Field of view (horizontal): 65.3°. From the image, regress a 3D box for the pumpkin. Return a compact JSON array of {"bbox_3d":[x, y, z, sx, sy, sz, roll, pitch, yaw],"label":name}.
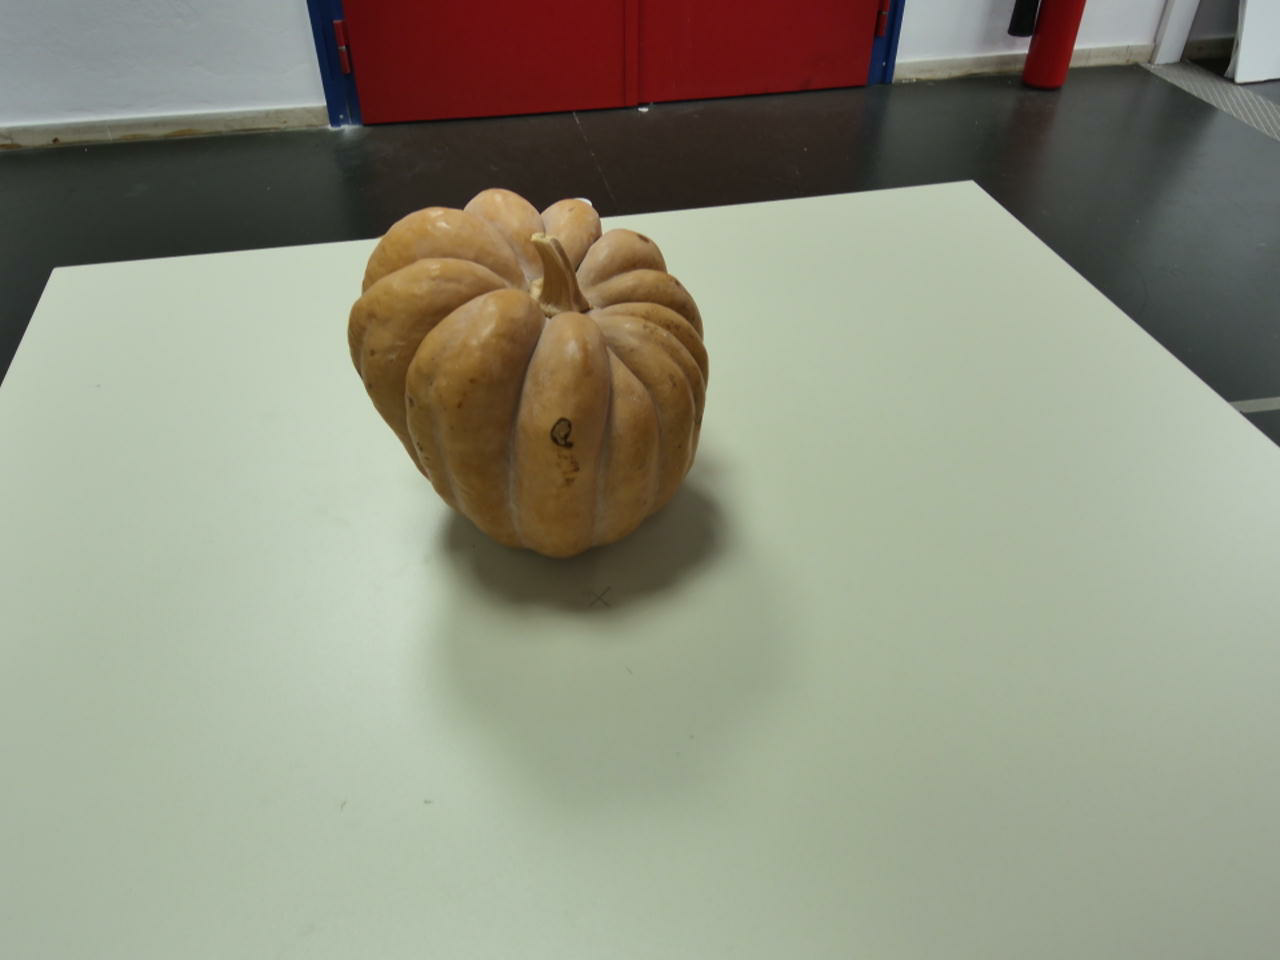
[{"bbox_3d":[-0.056,-0.056,0.540,0.199,0.177,0.198,0,39,0],"label":"pumpkin"}]
